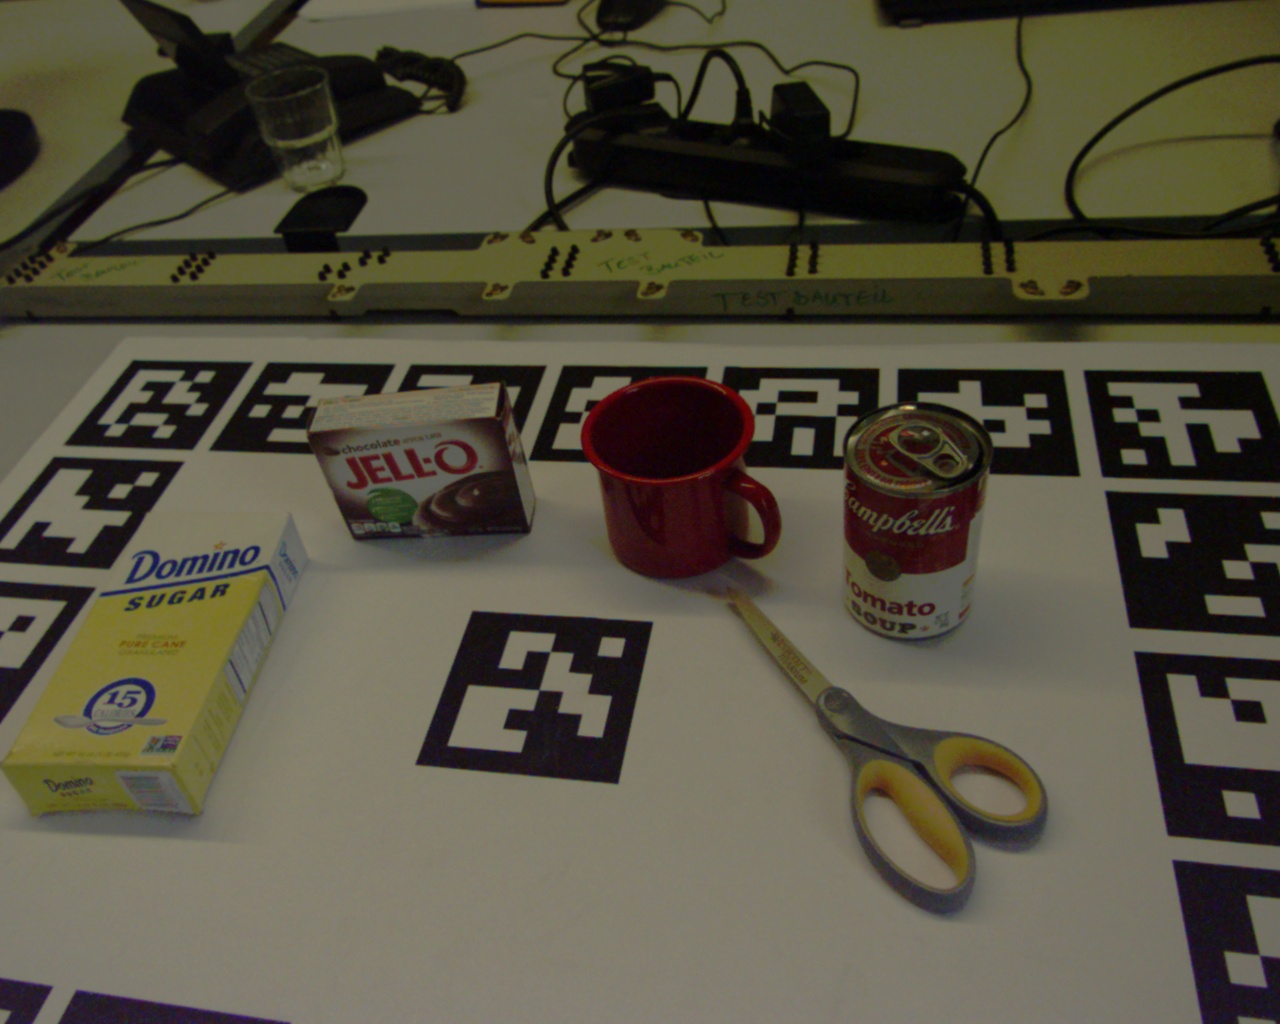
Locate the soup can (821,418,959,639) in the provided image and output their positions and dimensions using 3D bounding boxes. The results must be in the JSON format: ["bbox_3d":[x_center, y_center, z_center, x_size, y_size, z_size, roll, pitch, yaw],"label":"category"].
[{"bbox_3d":[0.131,0.010,0.606,0.068,0.101,0.068,-6,43,5],"label":"soup can"}]

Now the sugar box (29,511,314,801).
[{"bbox_3d":[-0.258,0.077,0.647,0.093,0.045,0.176,-2,47,11],"label":"sugar box"}]

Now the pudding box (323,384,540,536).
[{"bbox_3d":[-0.123,-0.031,0.687,0.114,0.089,0.039,-4,51,5],"label":"pudding box"}]

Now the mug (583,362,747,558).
[{"bbox_3d":[0.025,-0.021,0.660,0.093,0.081,0.118,-26,45,-12],"label":"mug"}]

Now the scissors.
[{"bbox_3d":[0.098,0.101,0.569,0.087,0.016,0.205,-35,50,-10],"label":"scissors"}]
